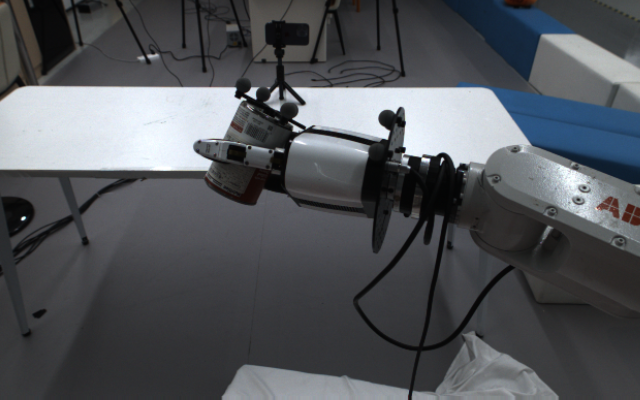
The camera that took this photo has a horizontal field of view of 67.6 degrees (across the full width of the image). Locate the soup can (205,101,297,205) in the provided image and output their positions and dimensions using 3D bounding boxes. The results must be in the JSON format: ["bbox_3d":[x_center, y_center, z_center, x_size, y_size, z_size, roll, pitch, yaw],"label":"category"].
[{"bbox_3d":[-0.081,-0.053,0.559,0.067,0.101,0.067,27,10,-5],"label":"soup can"}]
